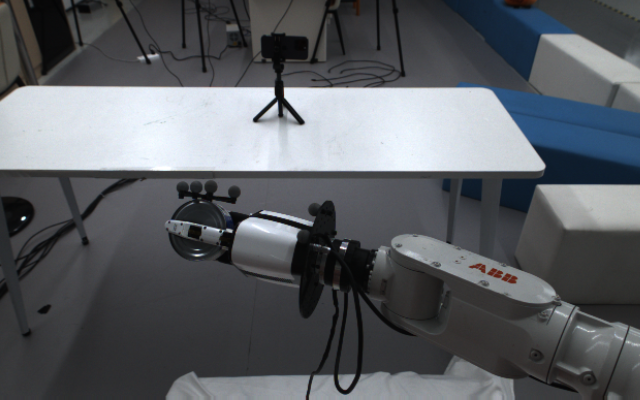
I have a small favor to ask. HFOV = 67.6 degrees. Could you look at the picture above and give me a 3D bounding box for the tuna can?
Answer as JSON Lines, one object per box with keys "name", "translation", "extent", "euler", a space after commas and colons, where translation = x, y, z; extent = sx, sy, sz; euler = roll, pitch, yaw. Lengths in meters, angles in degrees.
{"name": "tuna can", "translation": [-0.165, 0.043, 0.677], "extent": [0.085, 0.085, 0.034], "euler": [12, -6, 13]}
